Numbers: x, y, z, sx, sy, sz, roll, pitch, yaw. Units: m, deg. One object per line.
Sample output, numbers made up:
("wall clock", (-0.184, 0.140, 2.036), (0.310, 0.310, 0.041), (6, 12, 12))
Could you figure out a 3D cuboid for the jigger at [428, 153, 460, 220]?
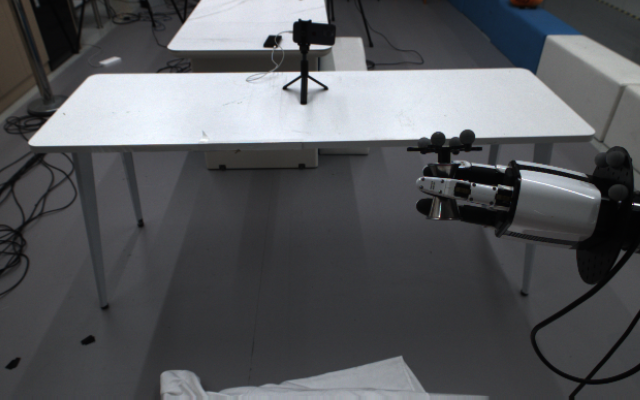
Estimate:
("jigger", (0.151, -0.011, 0.594), (0.043, 0.071, 0.043), (-1, 2, 0))
